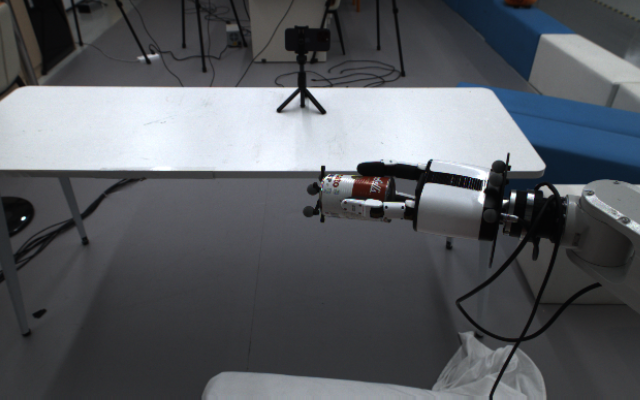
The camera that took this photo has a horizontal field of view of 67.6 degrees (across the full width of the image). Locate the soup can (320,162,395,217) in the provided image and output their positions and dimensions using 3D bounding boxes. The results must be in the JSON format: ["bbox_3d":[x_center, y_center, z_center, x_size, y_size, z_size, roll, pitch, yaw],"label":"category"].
[{"bbox_3d":[0.059,-0.004,0.726,0.101,0.067,0.067,5,34,18],"label":"soup can"}]
